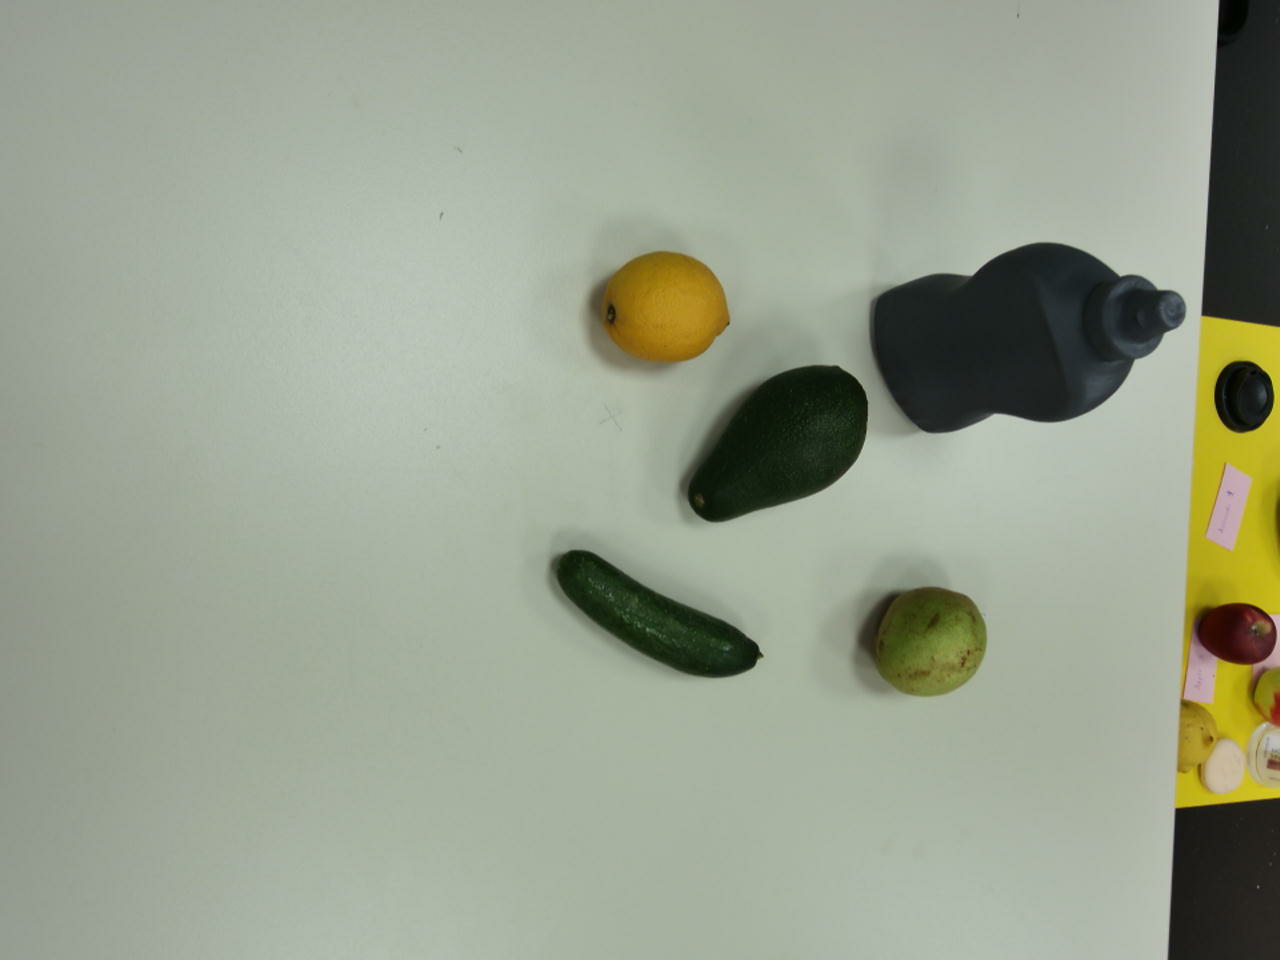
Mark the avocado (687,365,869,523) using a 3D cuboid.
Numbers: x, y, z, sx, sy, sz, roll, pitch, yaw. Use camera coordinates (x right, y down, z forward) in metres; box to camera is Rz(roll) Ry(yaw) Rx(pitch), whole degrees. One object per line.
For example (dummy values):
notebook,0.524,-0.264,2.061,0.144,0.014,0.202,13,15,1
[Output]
avocado,0.077,-0.021,0.561,0.109,0.071,0.072,-18,97,-21
